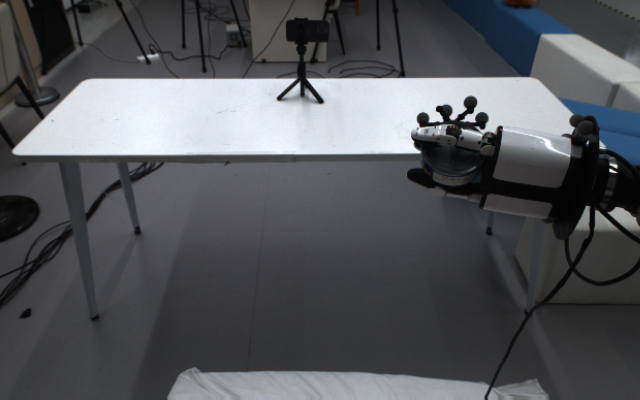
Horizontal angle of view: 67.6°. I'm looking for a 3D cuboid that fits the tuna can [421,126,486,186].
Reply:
[{"bbox_3d":[0.179,-0.064,0.653,0.085,0.034,0.085,-4,61,7],"label":"tuna can"}]
